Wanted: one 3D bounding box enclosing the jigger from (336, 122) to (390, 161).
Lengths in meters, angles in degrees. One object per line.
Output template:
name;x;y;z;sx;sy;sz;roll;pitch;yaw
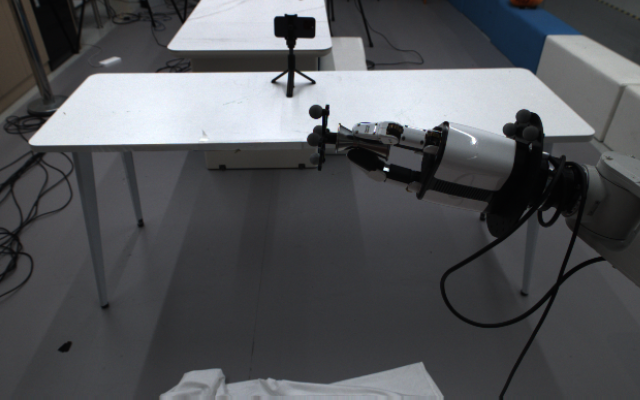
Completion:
jigger;0.062;-0.080;0.626;0.071;0.043;0.043;5;35;3
